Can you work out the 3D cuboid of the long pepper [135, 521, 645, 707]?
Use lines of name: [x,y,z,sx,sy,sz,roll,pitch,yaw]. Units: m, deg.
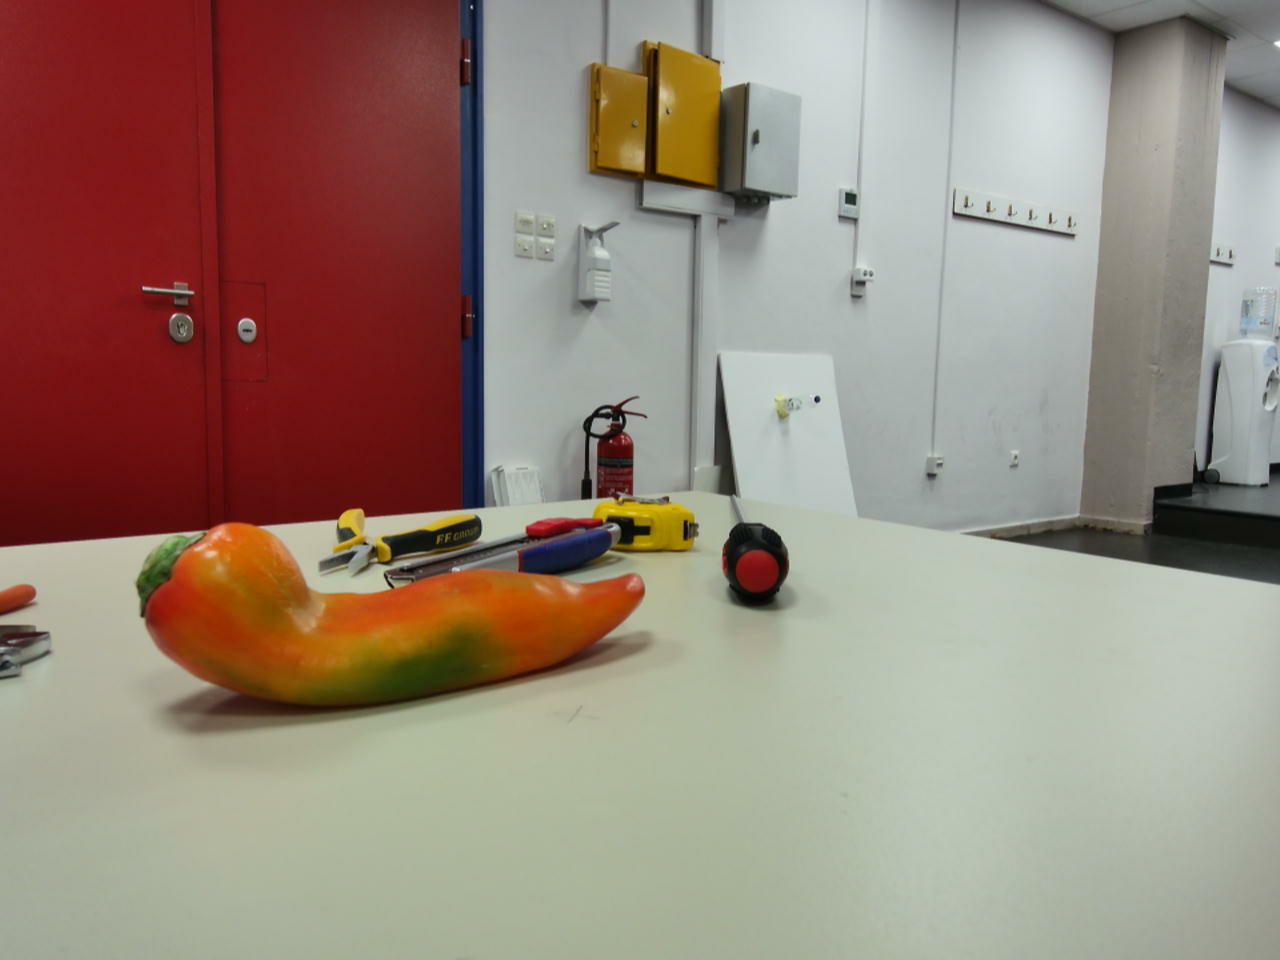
long pepper: [-0.079,0.044,0.379,0.199,0.065,0.066,-3,4,-33]
